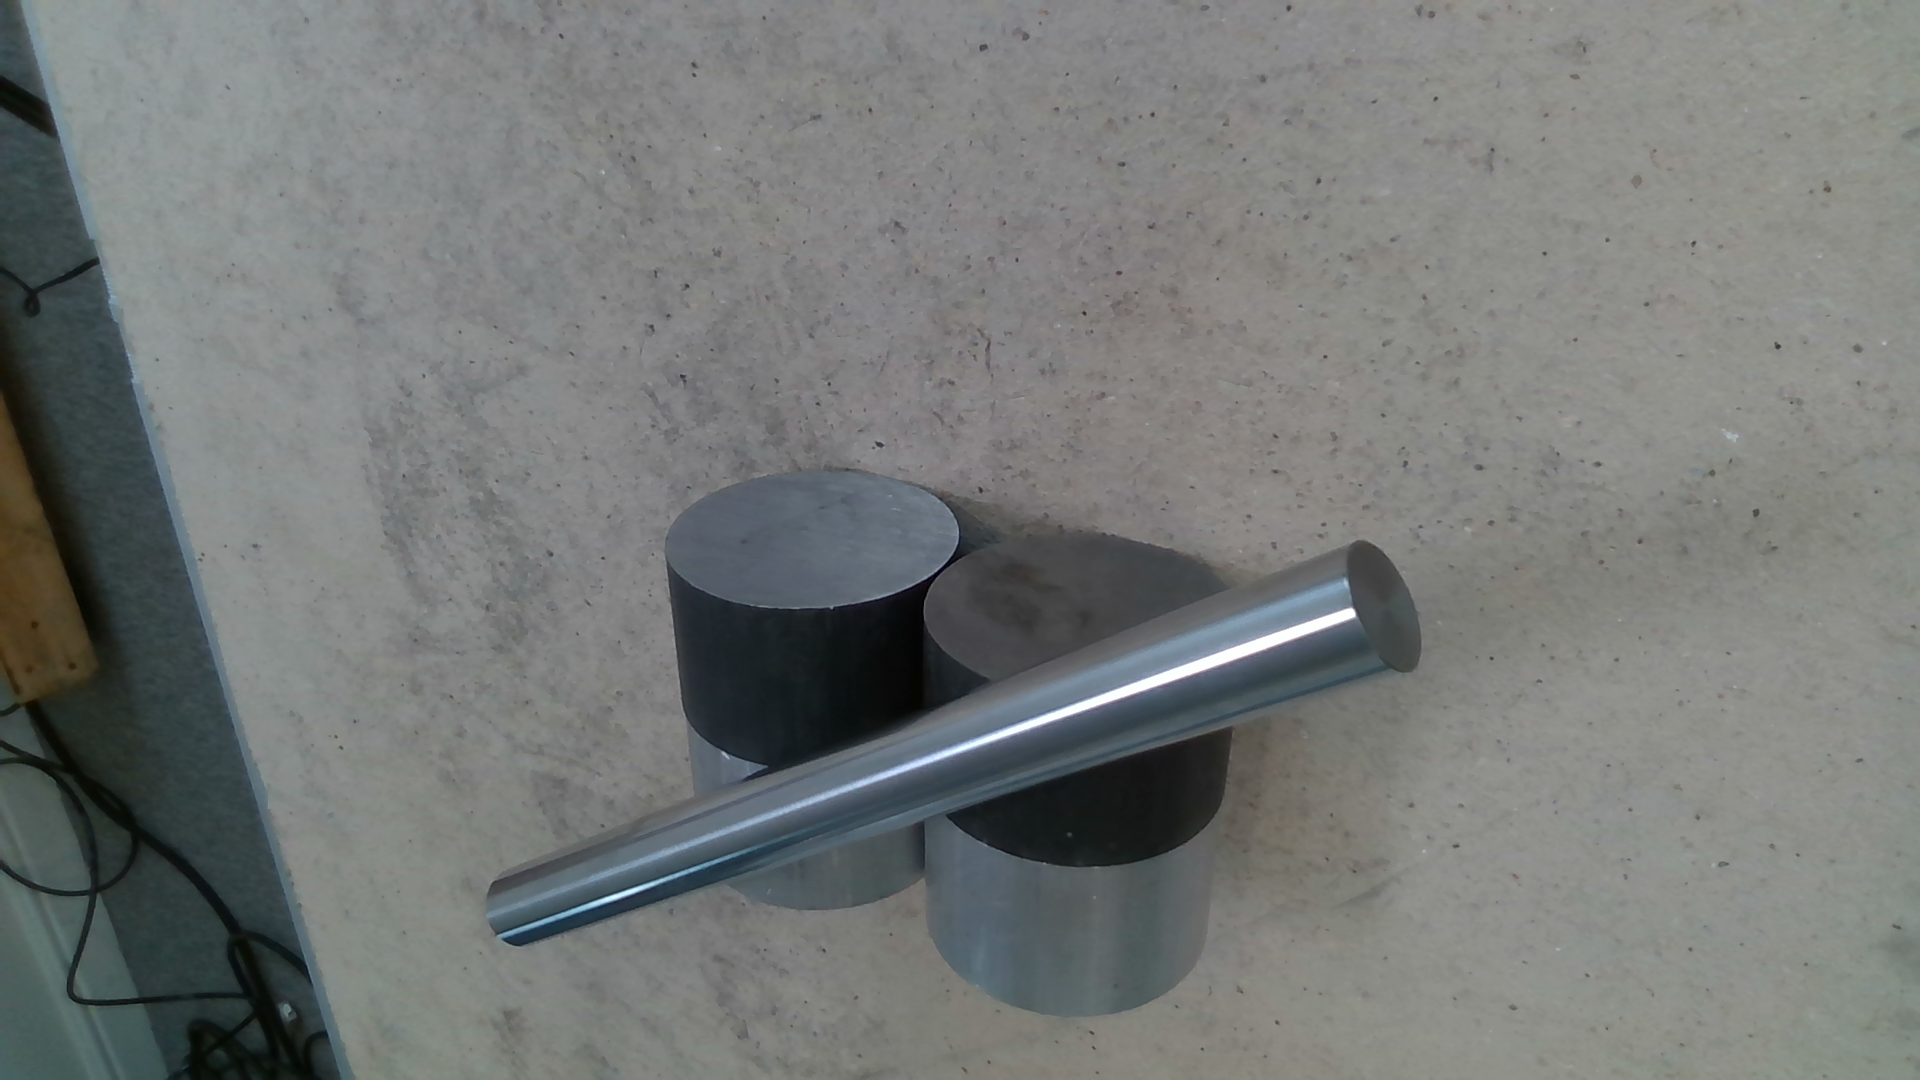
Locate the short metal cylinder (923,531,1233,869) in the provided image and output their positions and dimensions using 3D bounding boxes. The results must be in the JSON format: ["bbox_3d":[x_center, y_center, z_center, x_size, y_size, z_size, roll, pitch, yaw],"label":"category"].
[{"bbox_3d":[0.031,0.039,0.356,0.080,0.080,0.050,15,122,24],"label":"short metal cylinder"}]

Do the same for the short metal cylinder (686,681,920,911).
[{"bbox_3d":[-0.040,0.064,0.414,0.080,0.080,0.050,15,122,24],"label":"short metal cylinder"}]

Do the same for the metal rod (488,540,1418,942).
[{"bbox_3d":[-0.031,0.063,0.339,0.300,0.025,0.025,-26,100,39],"label":"metal rod"}]

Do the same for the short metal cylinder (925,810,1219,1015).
[{"bbox_3d":[0.030,0.082,0.381,0.080,0.080,0.050,15,122,24],"label":"short metal cylinder"}]

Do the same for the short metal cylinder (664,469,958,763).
[{"bbox_3d":[-0.041,0.020,0.390,0.080,0.080,0.050,15,122,24],"label":"short metal cylinder"}]
